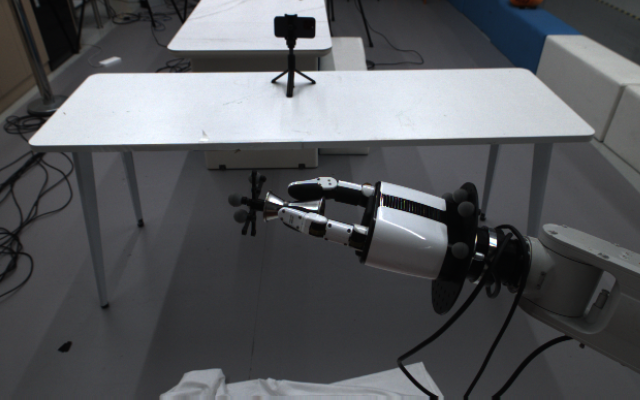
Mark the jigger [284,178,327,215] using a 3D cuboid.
[{"bbox_3d":[-0.023,0.007,0.590,0.071,0.043,0.043,7,35,8],"label":"jigger"}]
